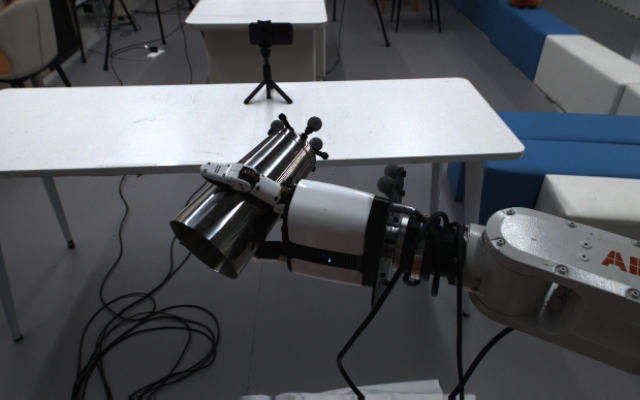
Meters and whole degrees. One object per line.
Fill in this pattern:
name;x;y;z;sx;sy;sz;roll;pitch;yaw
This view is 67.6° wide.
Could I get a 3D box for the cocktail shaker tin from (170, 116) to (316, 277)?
cocktail shaker tin;-0.079;-0.011;0.555;0.093;0.093;0.170;23;57;27
